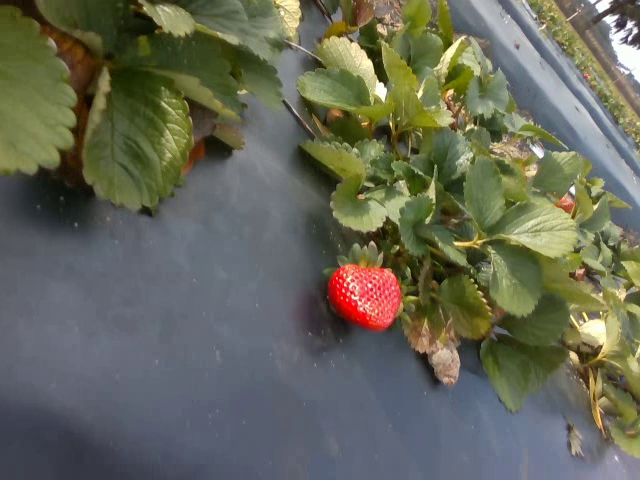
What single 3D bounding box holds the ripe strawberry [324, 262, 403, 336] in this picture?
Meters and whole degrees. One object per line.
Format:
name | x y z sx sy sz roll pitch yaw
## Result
ripe strawberry | 0.027 0.033 0.306 0.050 0.046 0.058 -37 27 14
